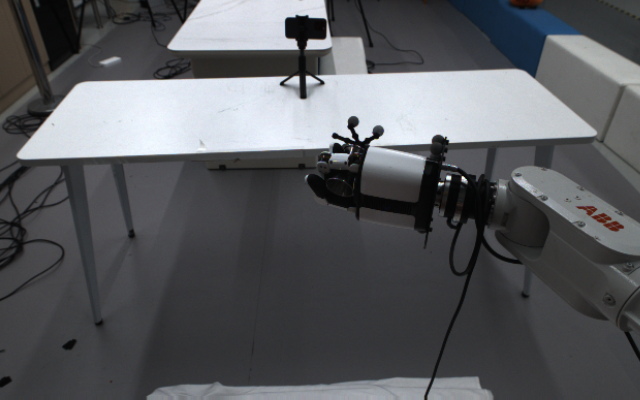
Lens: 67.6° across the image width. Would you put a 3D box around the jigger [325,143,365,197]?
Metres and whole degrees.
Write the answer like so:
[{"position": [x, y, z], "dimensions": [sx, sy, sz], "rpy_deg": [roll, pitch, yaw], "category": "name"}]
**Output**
[{"position": [0.041, -0.047, 0.712], "dimensions": [0.043, 0.043, 0.071], "rpy_deg": [15, 58, 18], "category": "jigger"}]
